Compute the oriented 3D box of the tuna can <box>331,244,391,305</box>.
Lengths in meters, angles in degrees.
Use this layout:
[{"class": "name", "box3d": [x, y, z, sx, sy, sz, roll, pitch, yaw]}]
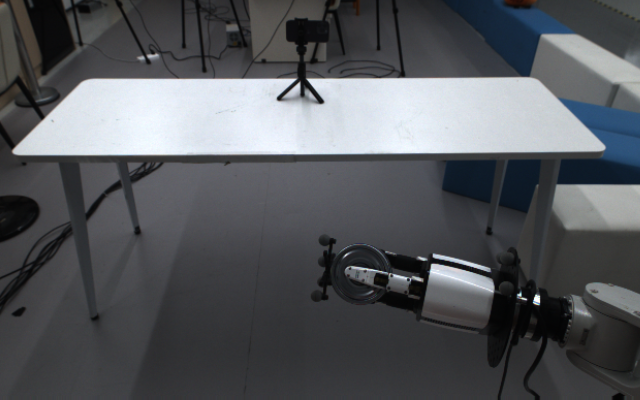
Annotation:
[{"class": "tuna can", "box3d": [0.062, 0.106, 0.677, 0.085, 0.085, 0.034, 9, -6, 10]}]
